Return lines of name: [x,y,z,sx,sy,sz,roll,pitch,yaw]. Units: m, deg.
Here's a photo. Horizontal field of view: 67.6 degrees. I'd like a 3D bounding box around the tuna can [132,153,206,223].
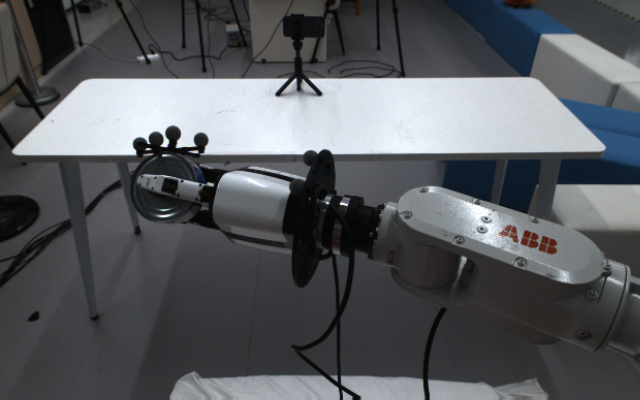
tuna can: [-0.179,-0.012,0.589,0.085,0.085,0.034,10,-6,11]
